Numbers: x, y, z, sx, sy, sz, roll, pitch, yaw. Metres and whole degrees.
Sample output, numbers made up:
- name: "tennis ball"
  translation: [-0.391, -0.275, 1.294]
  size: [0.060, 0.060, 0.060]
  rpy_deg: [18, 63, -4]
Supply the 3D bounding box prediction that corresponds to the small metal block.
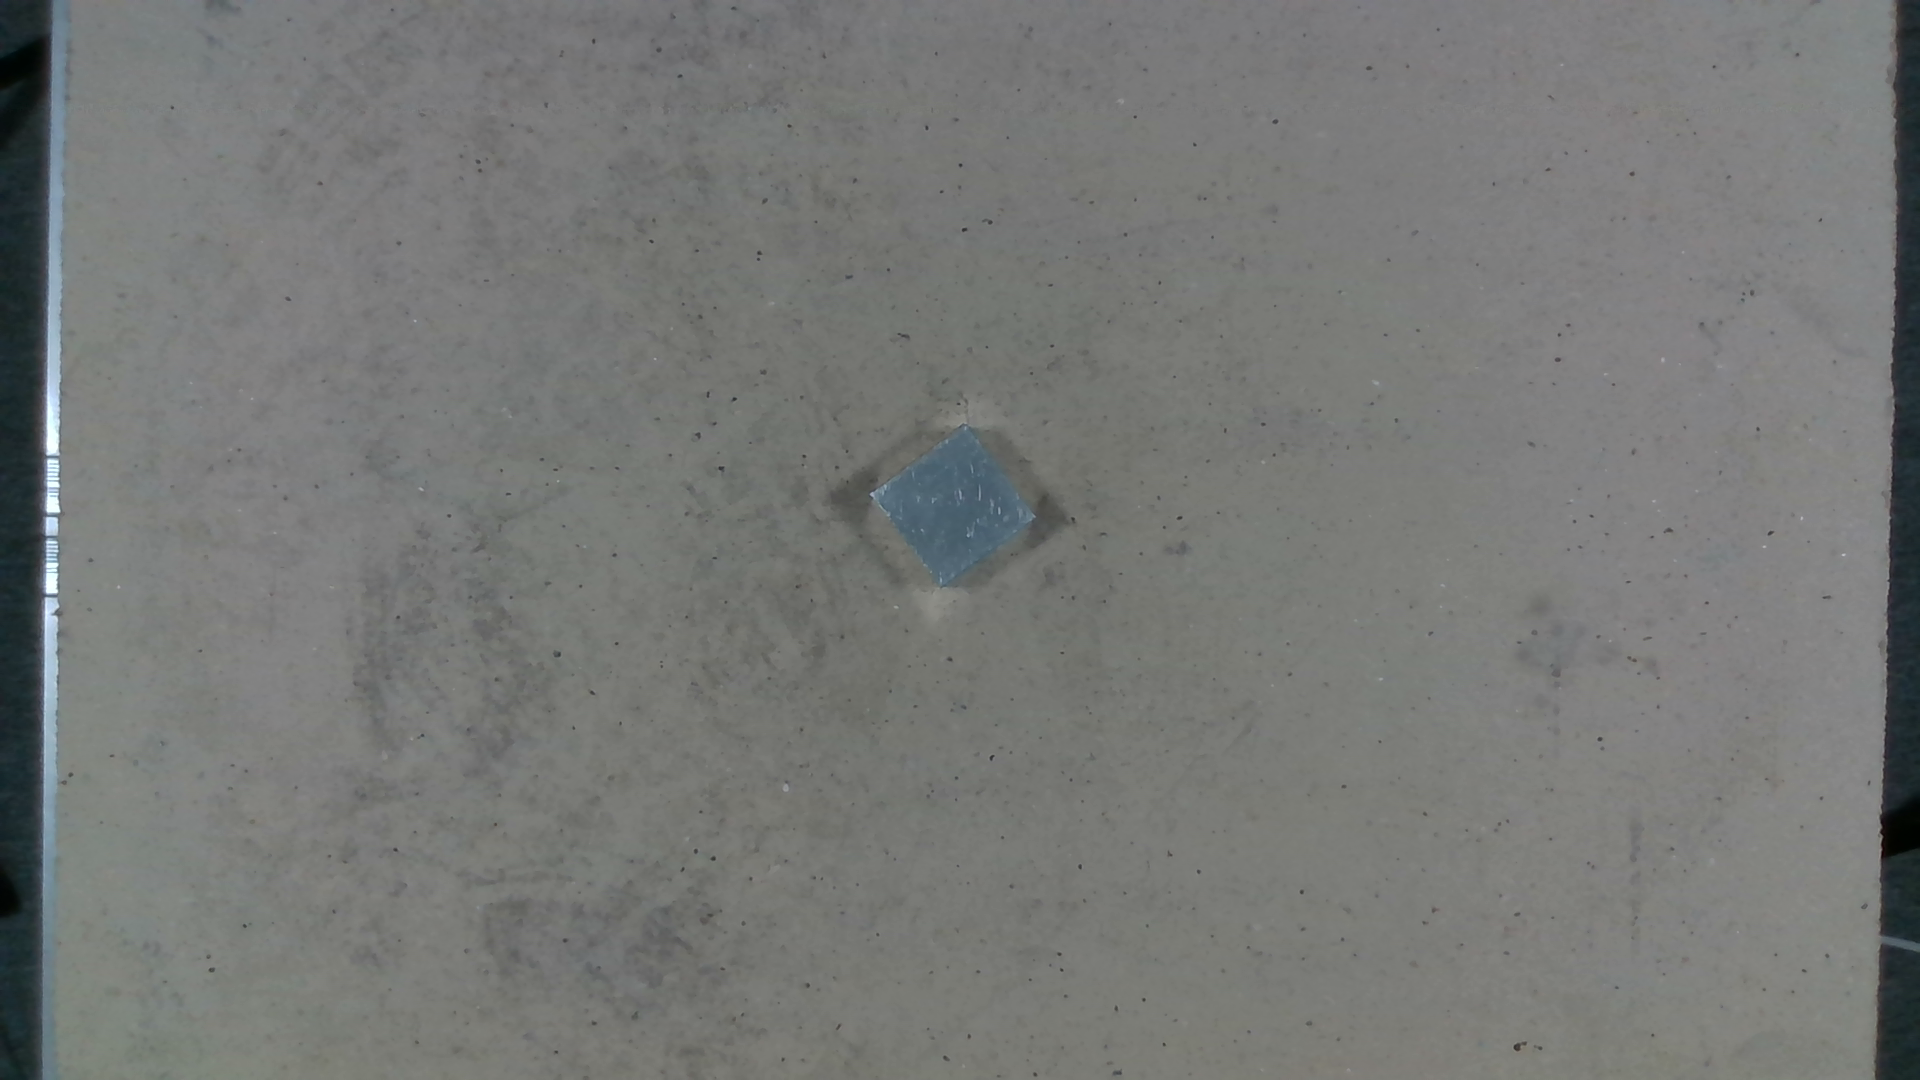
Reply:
- name: "small metal block"
  translation: [-0.003, -0.014, 0.587]
  size: [0.050, 0.025, 0.050]
  rpy_deg: [-37, 90, 0]
